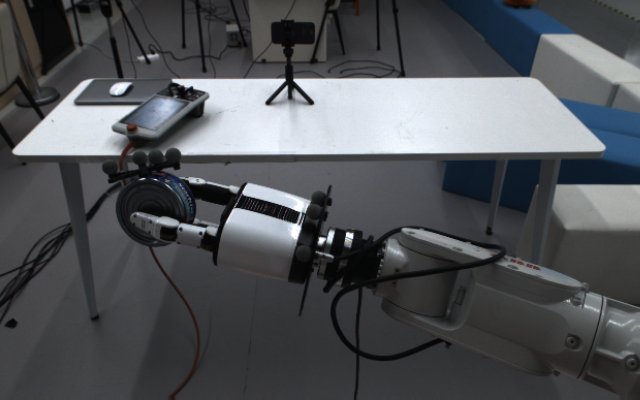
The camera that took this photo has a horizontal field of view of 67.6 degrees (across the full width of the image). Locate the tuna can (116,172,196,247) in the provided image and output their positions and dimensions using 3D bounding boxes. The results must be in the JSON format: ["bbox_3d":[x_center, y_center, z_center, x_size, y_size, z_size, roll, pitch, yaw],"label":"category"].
[{"bbox_3d":[-0.189,0.017,0.565,0.085,0.085,0.034,6,18,5],"label":"tuna can"}]
